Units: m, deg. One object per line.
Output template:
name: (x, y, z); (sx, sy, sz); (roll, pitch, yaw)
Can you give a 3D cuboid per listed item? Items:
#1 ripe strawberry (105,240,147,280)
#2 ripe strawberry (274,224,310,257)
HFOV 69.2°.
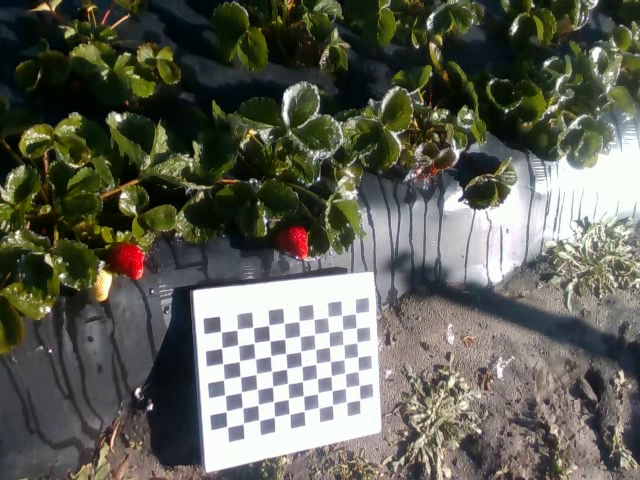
ripe strawberry: (-0.256, 0.034, 0.620); (0.042, 0.061, 0.046); (-19, -33, -19)
ripe strawberry: (-0.042, 0.004, 0.692); (0.048, 0.061, 0.044); (-12, -27, -20)
